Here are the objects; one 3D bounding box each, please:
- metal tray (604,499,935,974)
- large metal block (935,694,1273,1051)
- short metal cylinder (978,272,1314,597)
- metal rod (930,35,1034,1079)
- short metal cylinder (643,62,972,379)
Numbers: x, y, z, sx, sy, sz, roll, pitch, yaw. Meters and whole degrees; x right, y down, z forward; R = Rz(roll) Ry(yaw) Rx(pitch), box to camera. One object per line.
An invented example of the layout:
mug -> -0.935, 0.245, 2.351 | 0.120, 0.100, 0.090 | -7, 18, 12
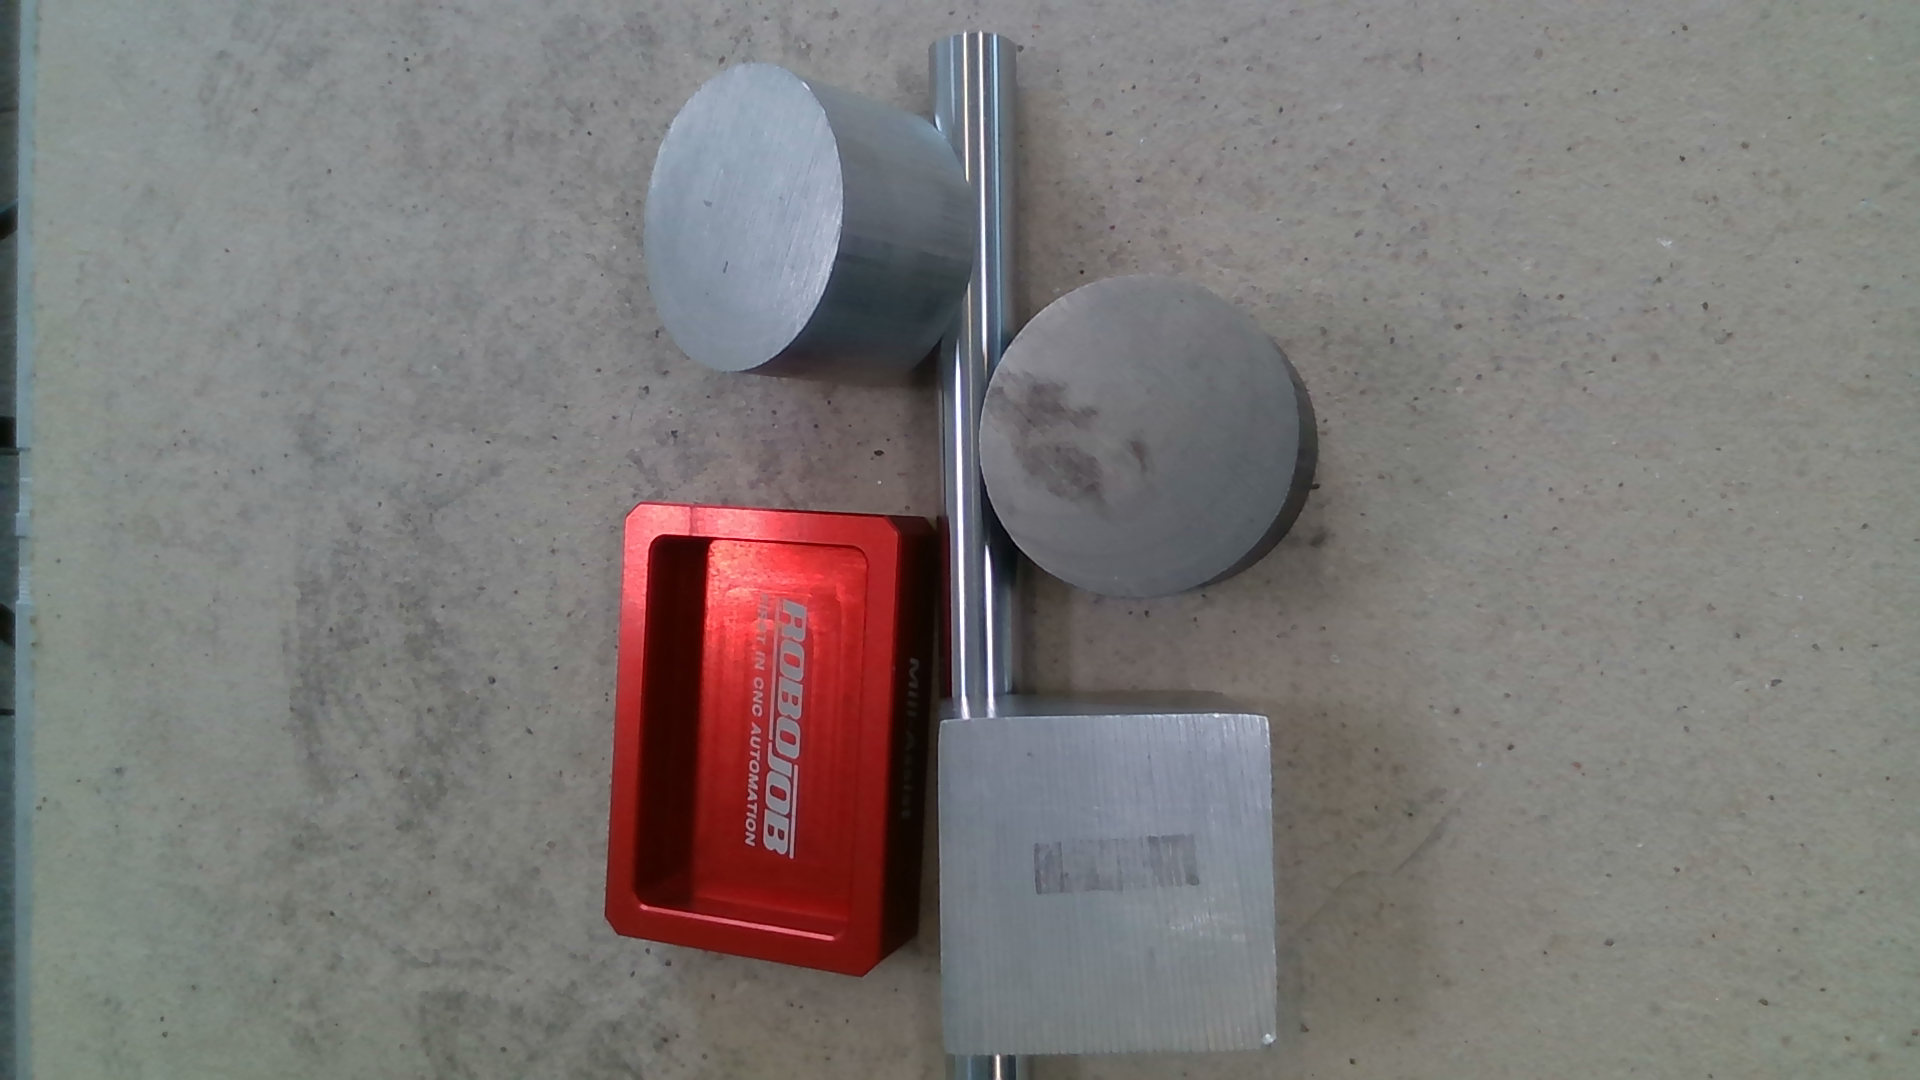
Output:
metal tray -> -0.057, 0.055, 0.412 | 0.090, 0.030, 0.130 | 4, 92, 20
large metal block -> 0.034, 0.082, 0.356 | 0.080, 0.050, 0.080 | -1, 90, -1
short metal cylinder -> 0.051, -0.026, 0.362 | 0.080, 0.050, 0.080 | 0, 90, 20
metal rod -> 0.006, 0.010, 0.393 | 0.025, 0.025, 0.300 | -1, 90, 20
short metal cylinder -> -0.043, -0.086, 0.383 | 0.080, 0.050, 0.080 | 1, 92, 41
